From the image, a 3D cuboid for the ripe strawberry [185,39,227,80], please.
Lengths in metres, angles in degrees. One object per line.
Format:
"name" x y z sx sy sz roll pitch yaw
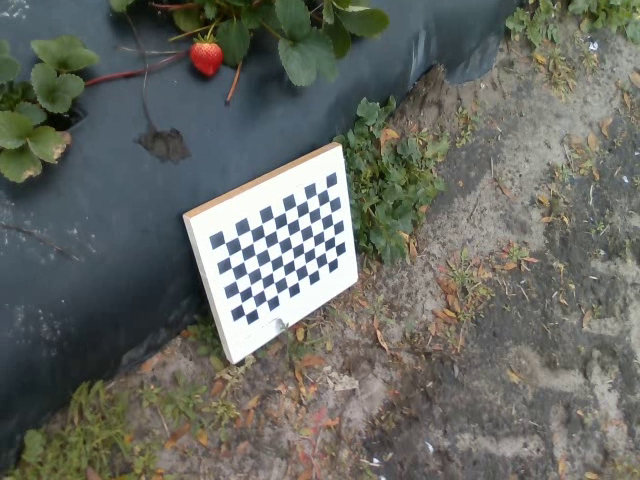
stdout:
"ripe strawberry" -0.188 -0.301 0.984 0.061 0.065 0.049 -22 27 -39
